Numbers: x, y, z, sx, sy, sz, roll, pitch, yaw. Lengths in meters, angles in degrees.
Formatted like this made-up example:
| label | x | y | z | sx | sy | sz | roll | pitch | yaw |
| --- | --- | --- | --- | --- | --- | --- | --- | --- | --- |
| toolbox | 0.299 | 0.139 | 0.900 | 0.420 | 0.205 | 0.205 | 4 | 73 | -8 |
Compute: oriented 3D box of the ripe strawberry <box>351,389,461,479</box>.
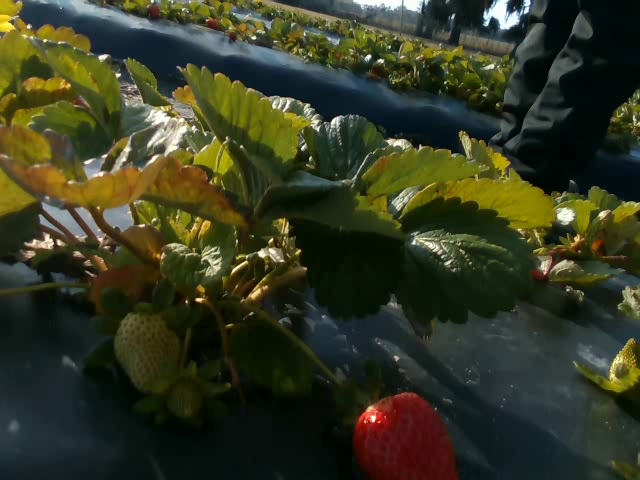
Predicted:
| label | x | y | z | sx | sy | sz | roll | pitch | yaw |
| --- | --- | --- | --- | --- | --- | --- | --- | --- | --- |
| ripe strawberry | 0.028 | 0.062 | 0.173 | 0.030 | 0.033 | 0.044 | -33 | 32 | -9 |
